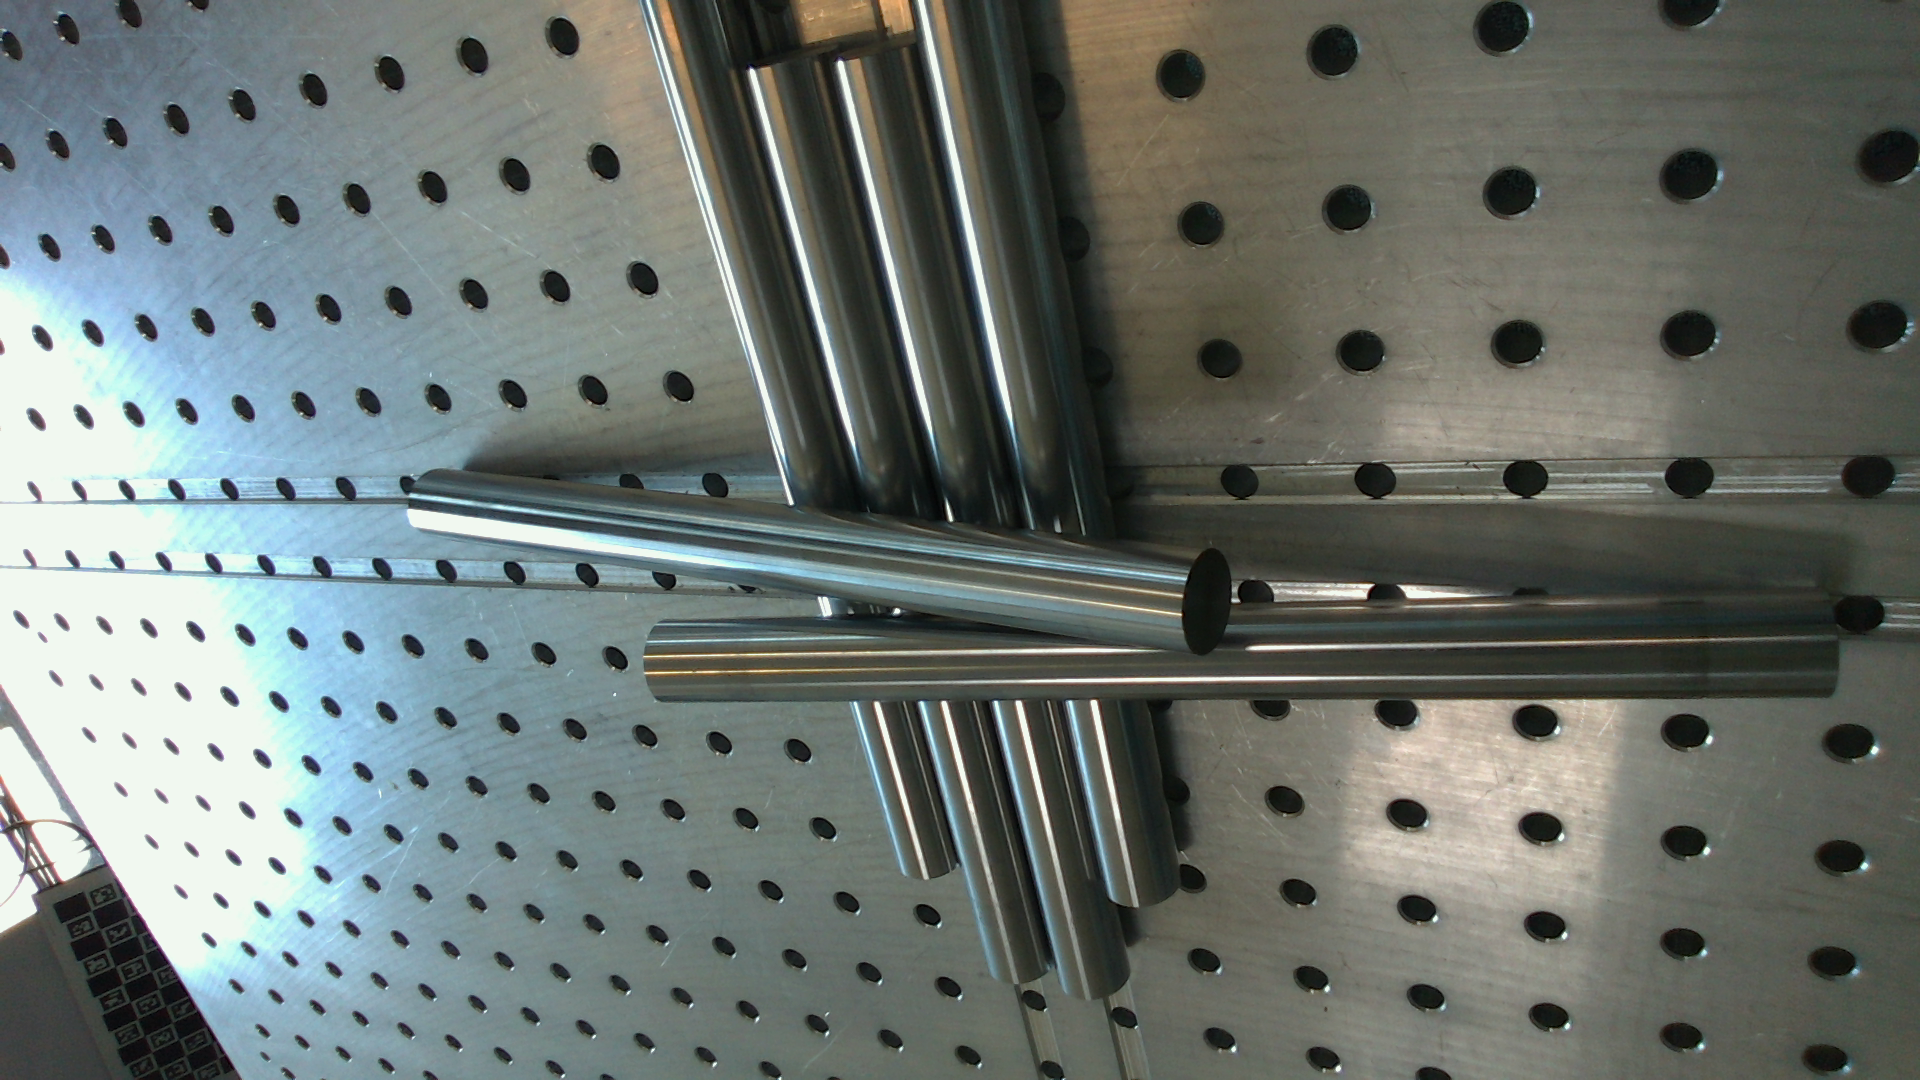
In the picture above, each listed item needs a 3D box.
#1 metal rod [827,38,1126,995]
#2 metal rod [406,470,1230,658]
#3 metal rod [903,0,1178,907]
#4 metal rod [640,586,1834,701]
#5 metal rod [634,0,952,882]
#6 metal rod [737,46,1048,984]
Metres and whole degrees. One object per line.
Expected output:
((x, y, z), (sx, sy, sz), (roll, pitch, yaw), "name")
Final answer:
((0.012, 0.012, 0.398), (0.025, 0.025, 0.300), (1, 119, 28), "metal rod")
((-0.064, 0.001, 0.401), (0.299, 0.025, 0.025), (6, 122, 36), "metal rod")
((0.024, -0.026, 0.366), (0.025, 0.025, 0.300), (1, 119, 28), "metal rod")
((0.052, 0.029, 0.359), (0.299, 0.025, 0.025), (-3, 118, 20), "metal rod")
((-0.042, -0.024, 0.403), (0.025, 0.025, 0.300), (1, 119, 28), "metal rod")
((-0.012, 0.011, 0.408), (0.025, 0.025, 0.300), (1, 119, 28), "metal rod")
